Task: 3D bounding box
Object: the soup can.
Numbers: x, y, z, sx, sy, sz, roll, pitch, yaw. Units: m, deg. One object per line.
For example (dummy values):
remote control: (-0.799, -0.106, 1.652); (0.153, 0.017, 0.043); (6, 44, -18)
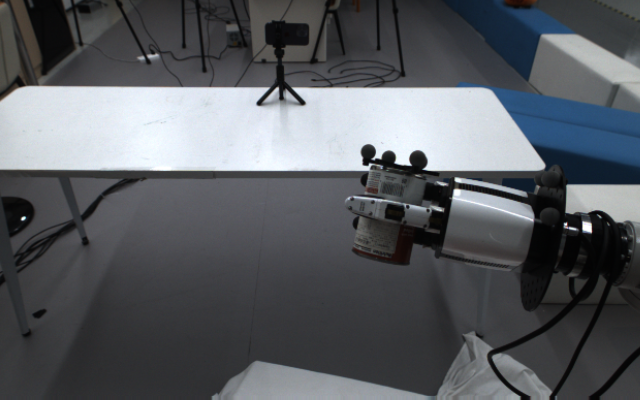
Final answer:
soup can: (0.081, 0.016, 0.554); (0.067, 0.101, 0.067); (12, 2, 0)
